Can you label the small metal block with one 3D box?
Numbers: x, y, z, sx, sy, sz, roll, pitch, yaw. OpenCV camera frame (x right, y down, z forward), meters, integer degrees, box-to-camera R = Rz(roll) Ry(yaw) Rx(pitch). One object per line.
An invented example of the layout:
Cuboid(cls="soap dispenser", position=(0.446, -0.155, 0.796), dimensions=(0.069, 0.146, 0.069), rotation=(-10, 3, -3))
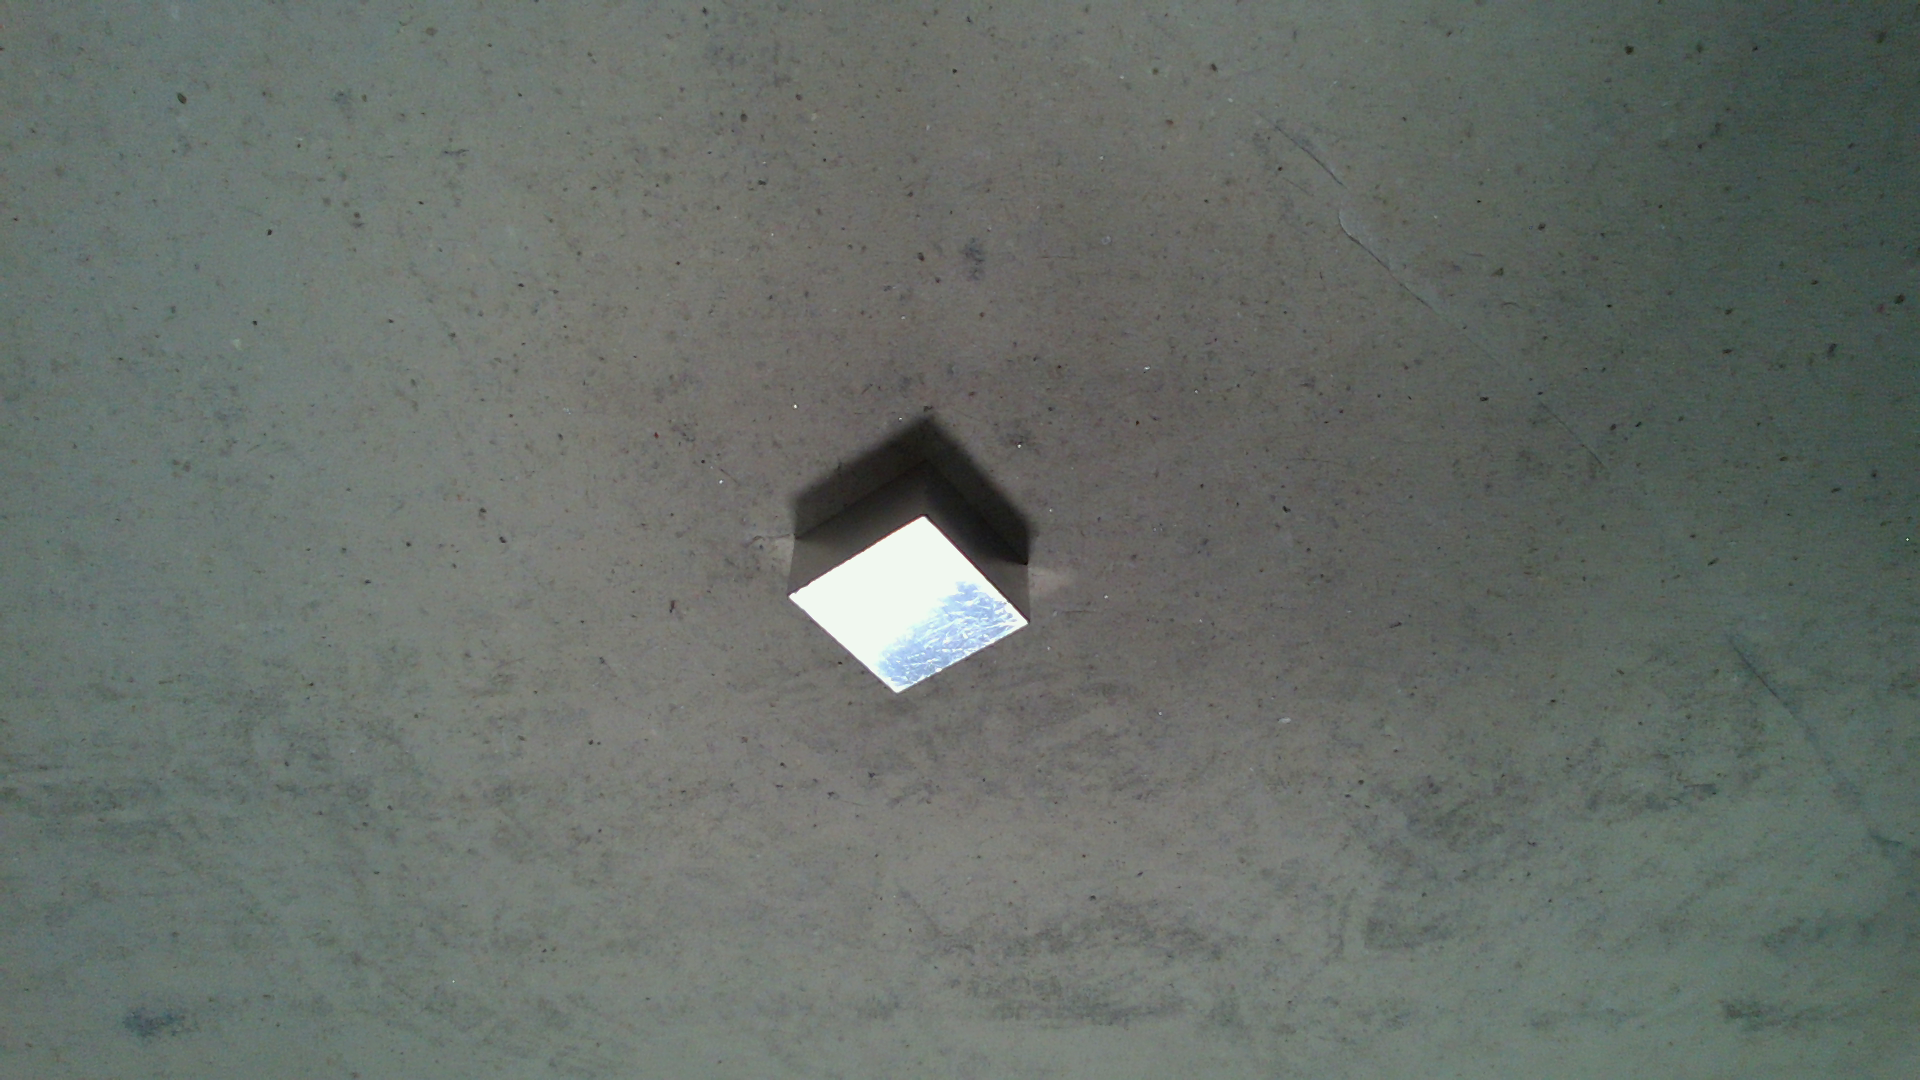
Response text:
Cuboid(cls="small metal block", position=(-0.014, 0.012, 0.401), dimensions=(0.050, 0.025, 0.050), rotation=(-30, 124, 23))
